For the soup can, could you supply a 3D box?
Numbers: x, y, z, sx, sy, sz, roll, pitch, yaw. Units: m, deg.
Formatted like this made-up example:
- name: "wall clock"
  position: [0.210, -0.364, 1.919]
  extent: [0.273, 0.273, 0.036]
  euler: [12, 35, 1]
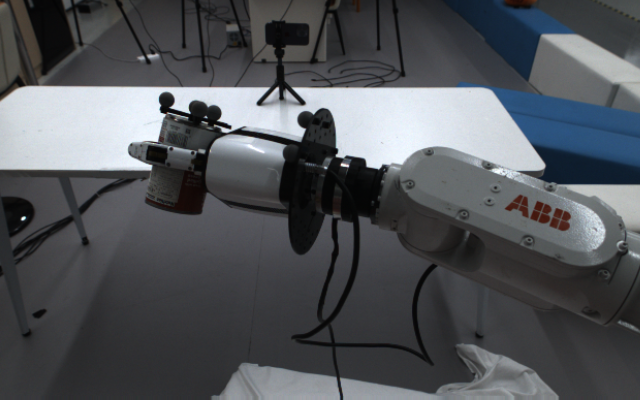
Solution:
- name: "soup can"
  position: [-0.156, -0.040, 0.558]
  extent: [0.067, 0.101, 0.067]
  euler: [15, 7, -2]
